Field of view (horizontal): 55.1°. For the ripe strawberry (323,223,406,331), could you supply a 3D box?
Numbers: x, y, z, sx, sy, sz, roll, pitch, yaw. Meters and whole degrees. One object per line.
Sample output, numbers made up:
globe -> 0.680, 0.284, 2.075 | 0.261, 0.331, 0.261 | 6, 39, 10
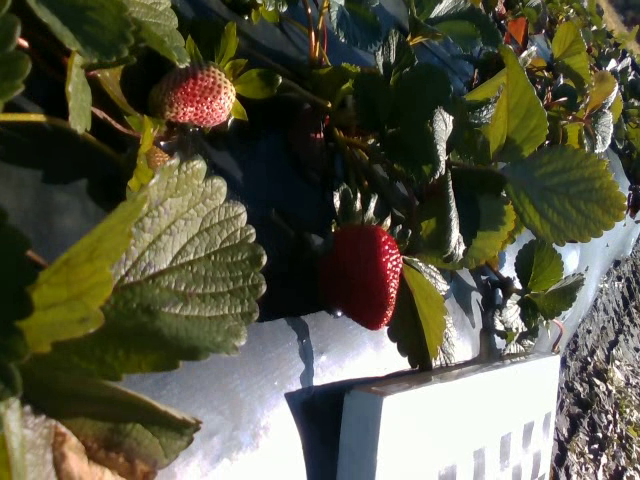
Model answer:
ripe strawberry -> 0.018, 0.019, 0.271 | 0.058, 0.066, 0.061 | -33, 38, -13
